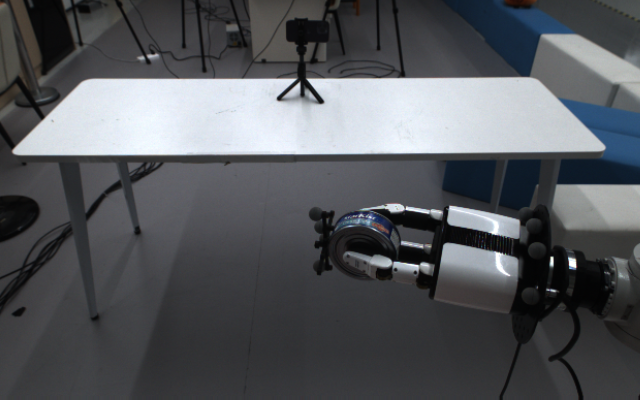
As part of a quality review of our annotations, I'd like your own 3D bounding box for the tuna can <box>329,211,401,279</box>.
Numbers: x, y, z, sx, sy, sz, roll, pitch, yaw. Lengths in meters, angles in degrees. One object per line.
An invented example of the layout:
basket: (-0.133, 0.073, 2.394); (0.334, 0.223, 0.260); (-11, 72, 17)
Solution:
tuna can: (0.057, 0.057, 0.587); (0.085, 0.085, 0.034); (9, 32, 10)
